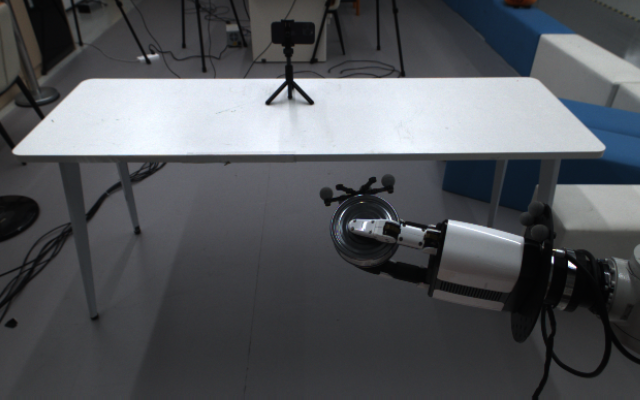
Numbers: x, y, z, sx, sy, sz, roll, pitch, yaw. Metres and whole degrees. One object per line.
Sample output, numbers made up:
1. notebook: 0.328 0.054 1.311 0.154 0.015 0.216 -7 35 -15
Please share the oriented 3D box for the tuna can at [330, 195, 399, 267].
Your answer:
1. tuna can: 0.058 0.035 0.590 0.085 0.034 0.085 -4 68 9
